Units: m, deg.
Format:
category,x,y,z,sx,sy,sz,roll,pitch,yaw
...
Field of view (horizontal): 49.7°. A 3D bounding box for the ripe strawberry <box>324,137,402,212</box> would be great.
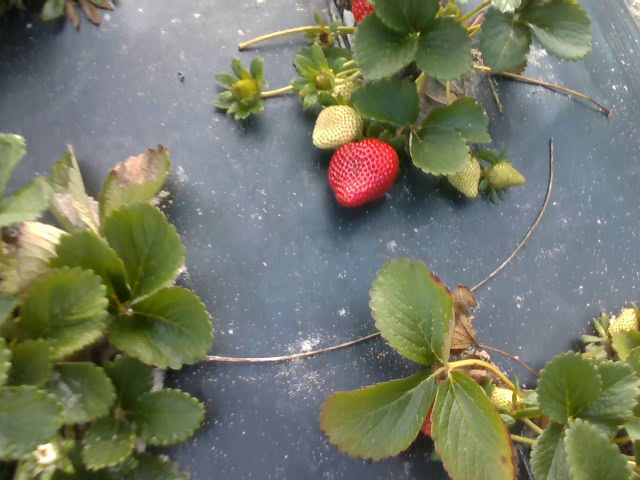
category,x,y,z,sx,sy,sz,roll,pitch,yaw
ripe strawberry,0.023,-0.040,0.451,0.051,0.048,0.055,-1,33,31
